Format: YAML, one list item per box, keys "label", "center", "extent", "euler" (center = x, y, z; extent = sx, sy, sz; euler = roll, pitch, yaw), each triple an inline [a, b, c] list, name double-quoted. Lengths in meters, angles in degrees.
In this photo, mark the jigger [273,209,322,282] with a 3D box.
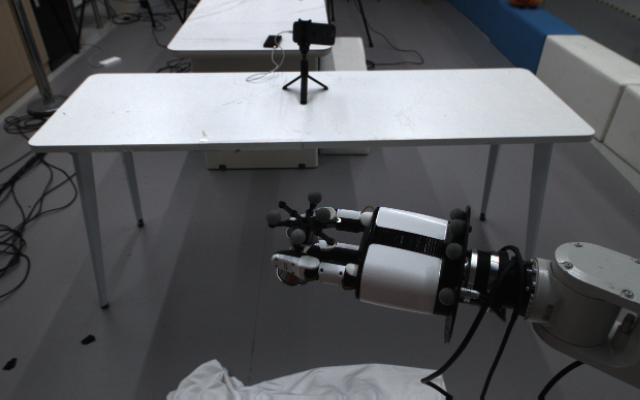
- label: "jigger"
  center: [-0.027, 0.067, 0.595]
  extent: [0.043, 0.071, 0.043]
  euler: [10, 36, -7]
